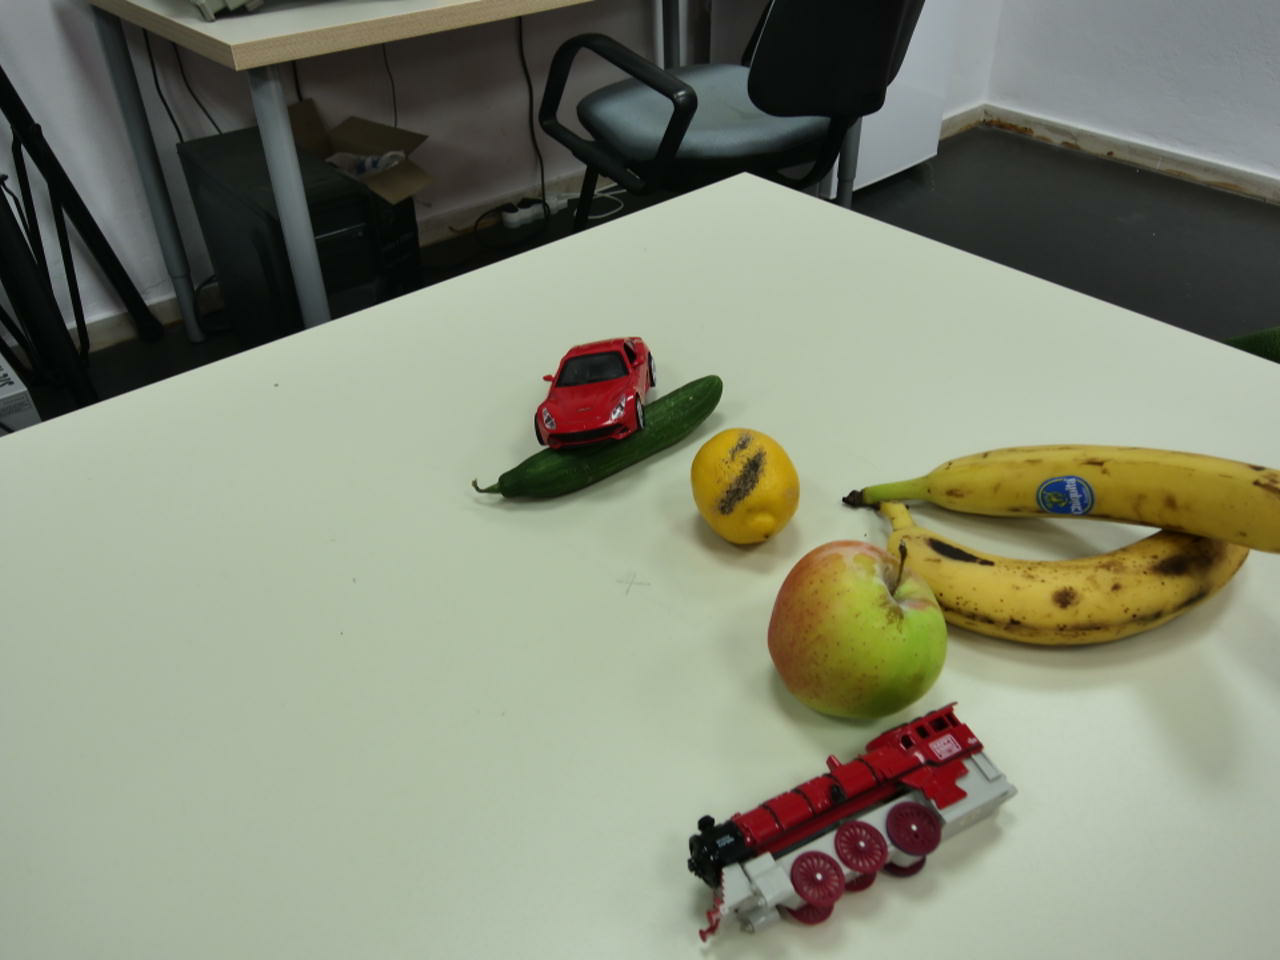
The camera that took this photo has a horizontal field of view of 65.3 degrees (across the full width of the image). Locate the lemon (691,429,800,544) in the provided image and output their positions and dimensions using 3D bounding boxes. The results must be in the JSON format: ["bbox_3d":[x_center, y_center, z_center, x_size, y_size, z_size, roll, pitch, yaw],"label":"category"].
[{"bbox_3d":[0.056,0.003,0.528,0.061,0.056,0.058,28,45,33],"label":"lemon"}]
